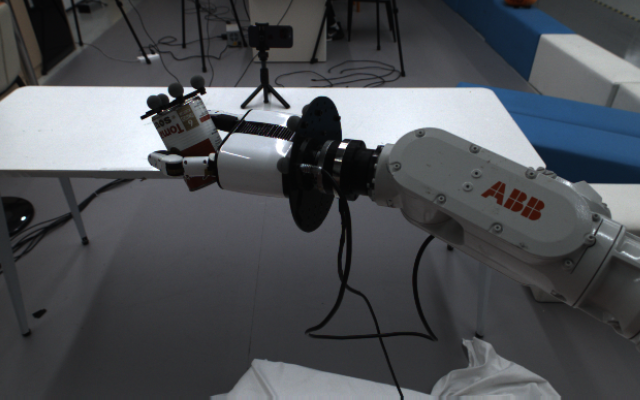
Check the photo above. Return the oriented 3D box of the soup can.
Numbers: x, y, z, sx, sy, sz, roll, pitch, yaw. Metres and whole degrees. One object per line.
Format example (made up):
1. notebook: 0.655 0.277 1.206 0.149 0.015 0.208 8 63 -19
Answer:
1. soup can: -0.157 -0.069 0.612 0.067 0.101 0.067 -23 15 7
